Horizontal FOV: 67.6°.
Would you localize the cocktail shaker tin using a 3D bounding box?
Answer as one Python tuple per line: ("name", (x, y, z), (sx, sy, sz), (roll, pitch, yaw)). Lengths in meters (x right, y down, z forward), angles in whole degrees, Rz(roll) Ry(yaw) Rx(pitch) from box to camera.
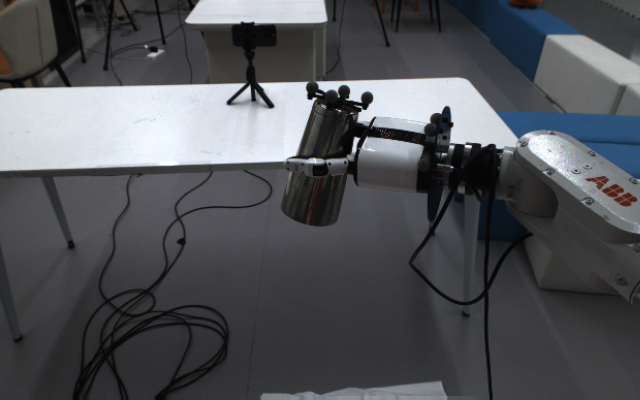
("cocktail shaker tin", (0.005, -0.061, 0.713), (0.093, 0.170, 0.093), (12, 24, -5))
